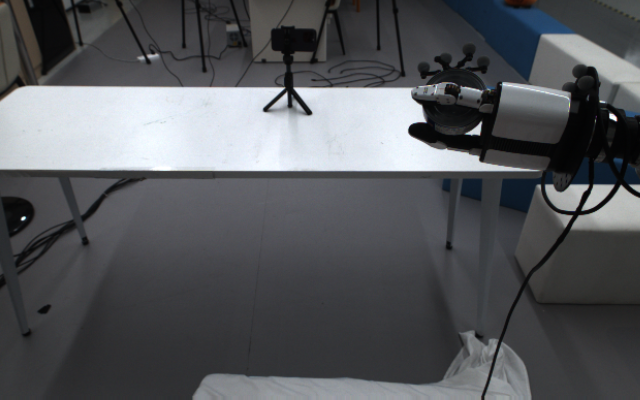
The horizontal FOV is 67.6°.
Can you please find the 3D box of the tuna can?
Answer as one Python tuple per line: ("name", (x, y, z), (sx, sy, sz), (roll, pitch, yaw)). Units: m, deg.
("tuna can", (0.181, -0.134, 0.657), (0.085, 0.034, 0.085), (-5, 71, 15))
